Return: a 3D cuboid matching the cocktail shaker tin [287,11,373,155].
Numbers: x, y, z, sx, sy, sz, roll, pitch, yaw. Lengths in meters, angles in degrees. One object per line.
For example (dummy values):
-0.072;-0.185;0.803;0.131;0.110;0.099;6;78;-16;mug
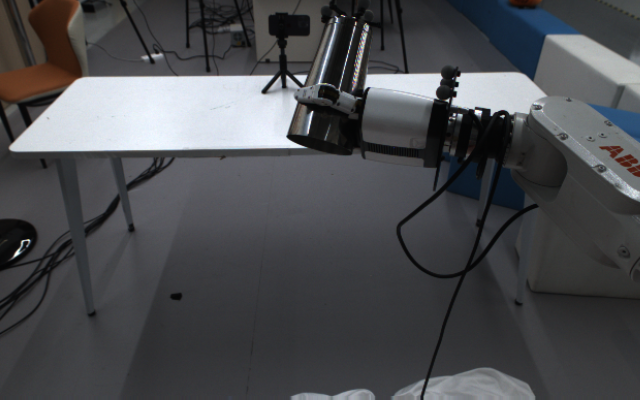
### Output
0.020;-0.156;0.659;0.093;0.170;0.093;15;-4;1;cocktail shaker tin
